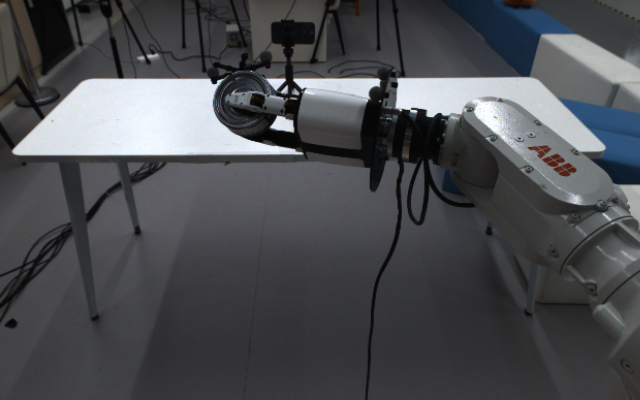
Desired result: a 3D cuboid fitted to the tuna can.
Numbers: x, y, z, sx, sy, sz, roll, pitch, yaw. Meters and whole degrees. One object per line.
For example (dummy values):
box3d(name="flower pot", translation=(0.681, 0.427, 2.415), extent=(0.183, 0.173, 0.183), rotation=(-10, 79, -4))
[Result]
box3d(name="tuna can", translation=(-0.098, -0.127, 0.660), extent=(0.085, 0.085, 0.034), rotation=(12, -6, 14))
